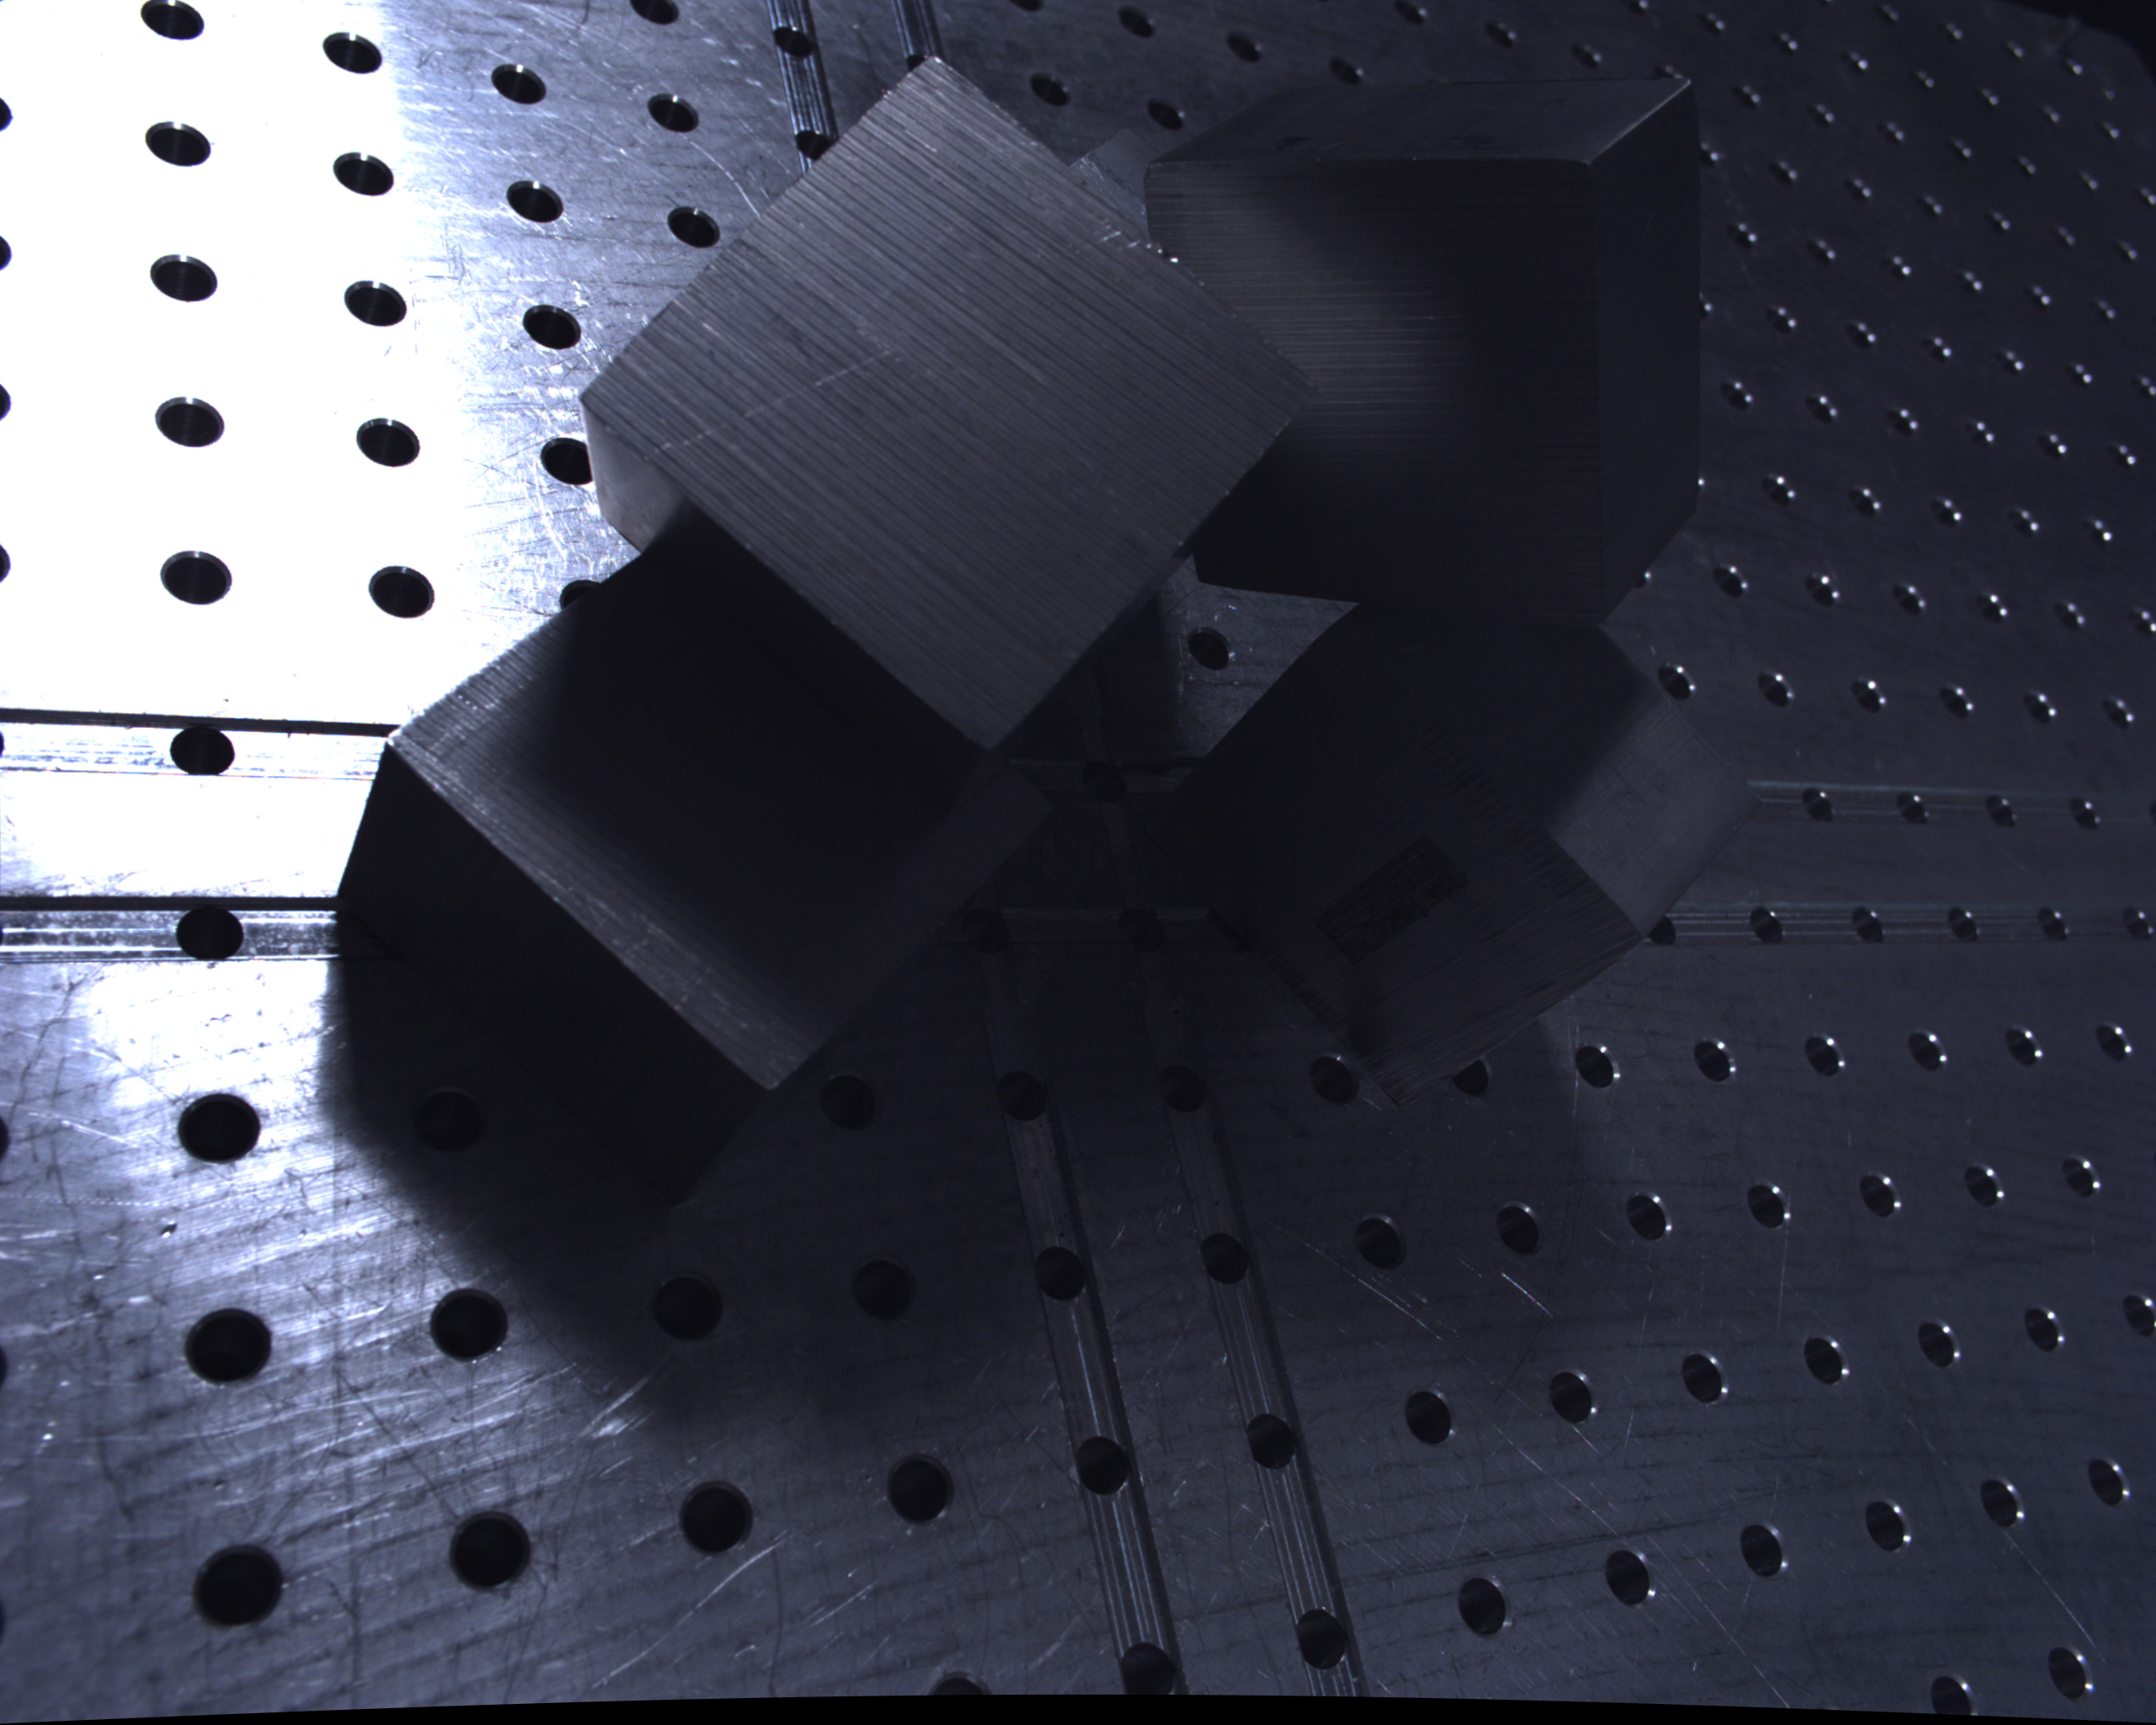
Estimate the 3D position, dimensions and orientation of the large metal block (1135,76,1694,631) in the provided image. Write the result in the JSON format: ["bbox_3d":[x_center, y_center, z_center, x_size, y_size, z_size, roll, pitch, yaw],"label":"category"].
[{"bbox_3d":[0.063,-0.092,0.374,0.080,0.079,0.050,11,37,30],"label":"large metal block"}]

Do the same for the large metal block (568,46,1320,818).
[{"bbox_3d":[-0.022,-0.067,0.338,0.080,0.050,0.080,41,76,-1],"label":"large metal block"}]

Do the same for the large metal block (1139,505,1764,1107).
[{"bbox_3d":[0.072,-0.010,0.417,0.080,0.080,0.050,47,51,4],"label":"large metal block"}]

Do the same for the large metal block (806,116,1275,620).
[{"bbox_3d":[-0.008,-0.091,0.424,0.050,0.080,0.080,41,51,-1],"label":"large metal block"}]

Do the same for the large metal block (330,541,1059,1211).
[{"bbox_3d":[-0.065,-0.002,0.359,0.080,0.050,0.080,43,51,1],"label":"large metal block"}]
